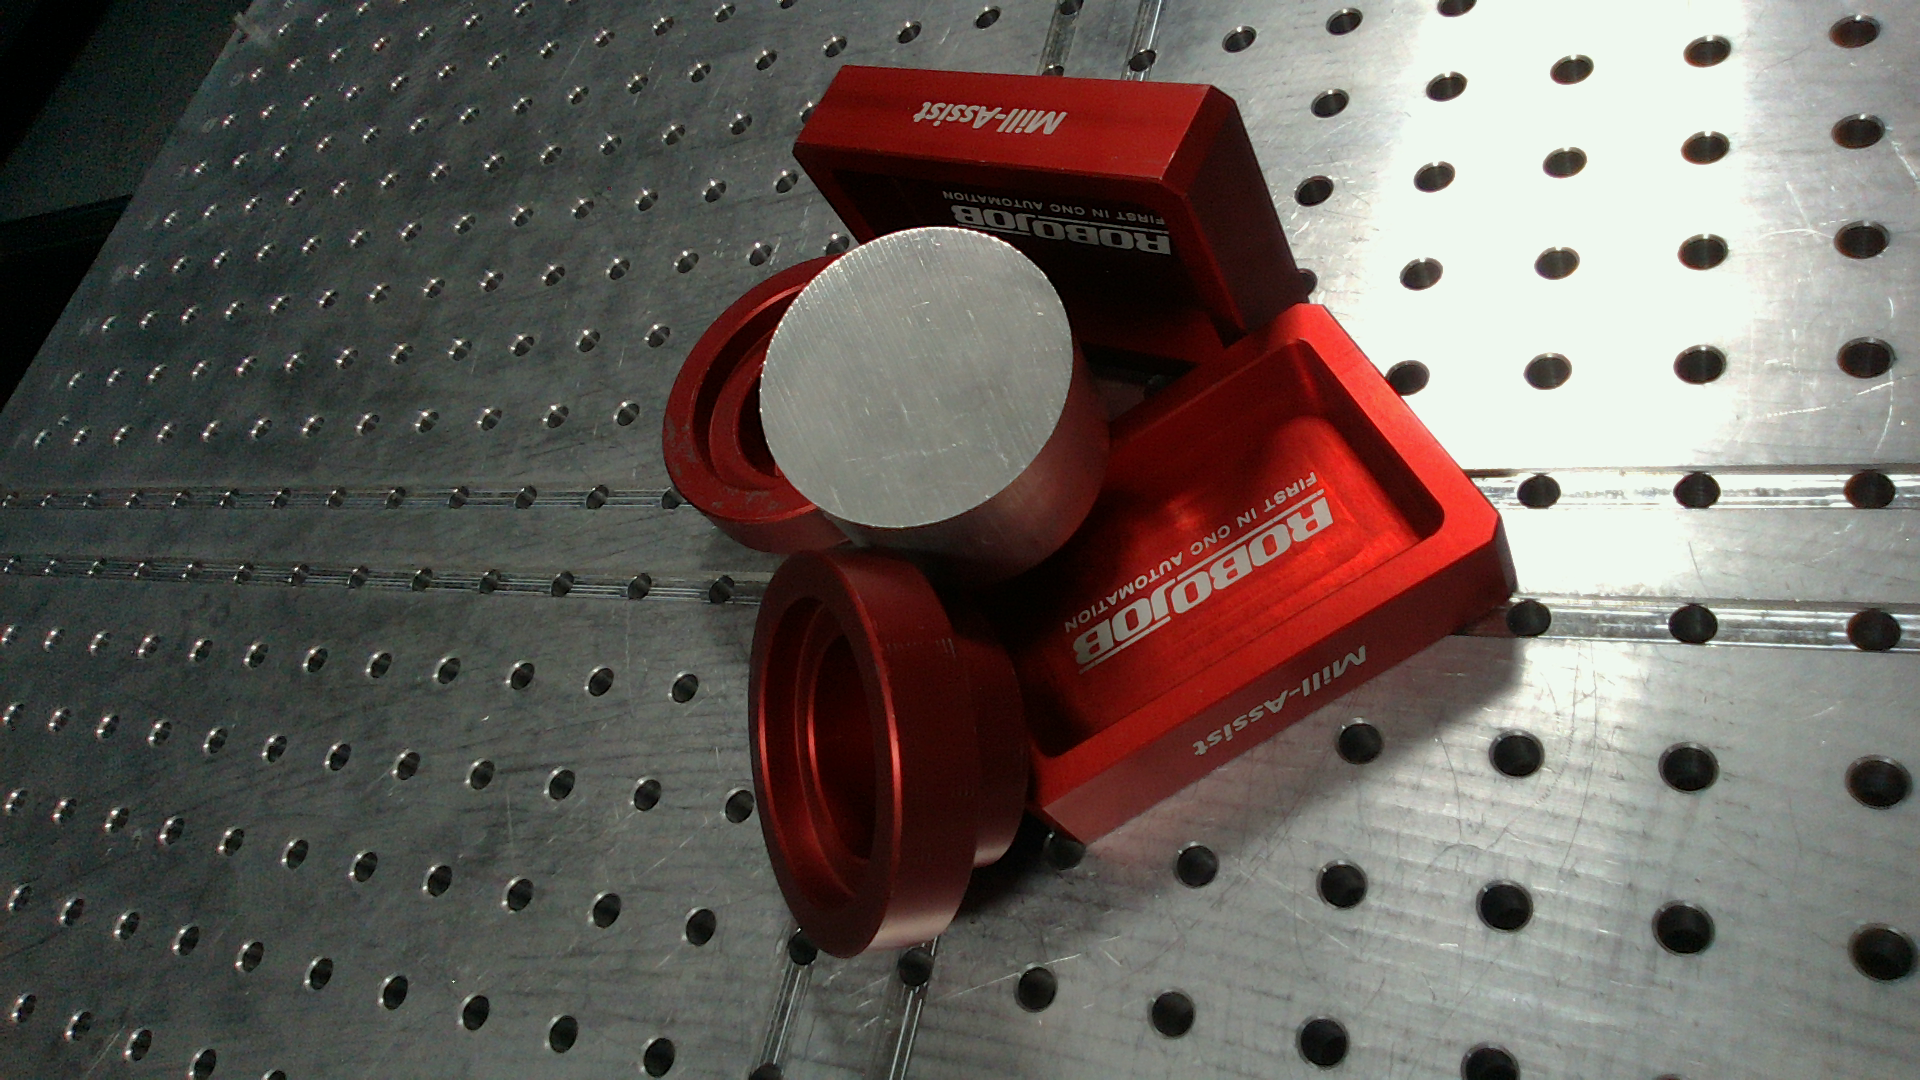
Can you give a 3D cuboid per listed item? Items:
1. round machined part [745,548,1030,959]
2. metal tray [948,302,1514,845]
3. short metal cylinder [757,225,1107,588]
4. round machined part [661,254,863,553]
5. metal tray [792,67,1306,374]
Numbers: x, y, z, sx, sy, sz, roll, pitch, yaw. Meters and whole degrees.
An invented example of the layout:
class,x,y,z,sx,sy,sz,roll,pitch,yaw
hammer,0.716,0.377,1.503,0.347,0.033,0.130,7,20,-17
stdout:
class,x,y,z,sx,sy,sz,roll,pitch,yaw
round machined part,-0.018,0.050,0.342,0.098,0.042,0.098,7,98,62
metal tray,0.060,0.007,0.356,0.130,0.030,0.090,-32,51,7
short metal cylinder,-0.005,-0.033,0.356,0.080,0.050,0.080,-5,69,14
round machined part,-0.041,-0.039,0.432,0.098,0.042,0.098,-13,56,21
metal tray,0.026,-0.090,0.396,0.129,0.090,0.030,16,70,35
